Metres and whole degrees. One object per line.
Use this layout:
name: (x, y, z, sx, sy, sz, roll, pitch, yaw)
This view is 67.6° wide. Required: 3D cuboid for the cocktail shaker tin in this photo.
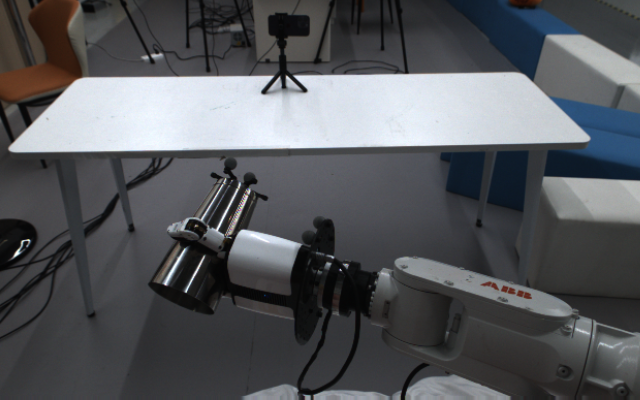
cocktail shaker tin: (-0.149, 0.057, 0.652, 0.093, 0.093, 0.170, 14, 62, 17)
